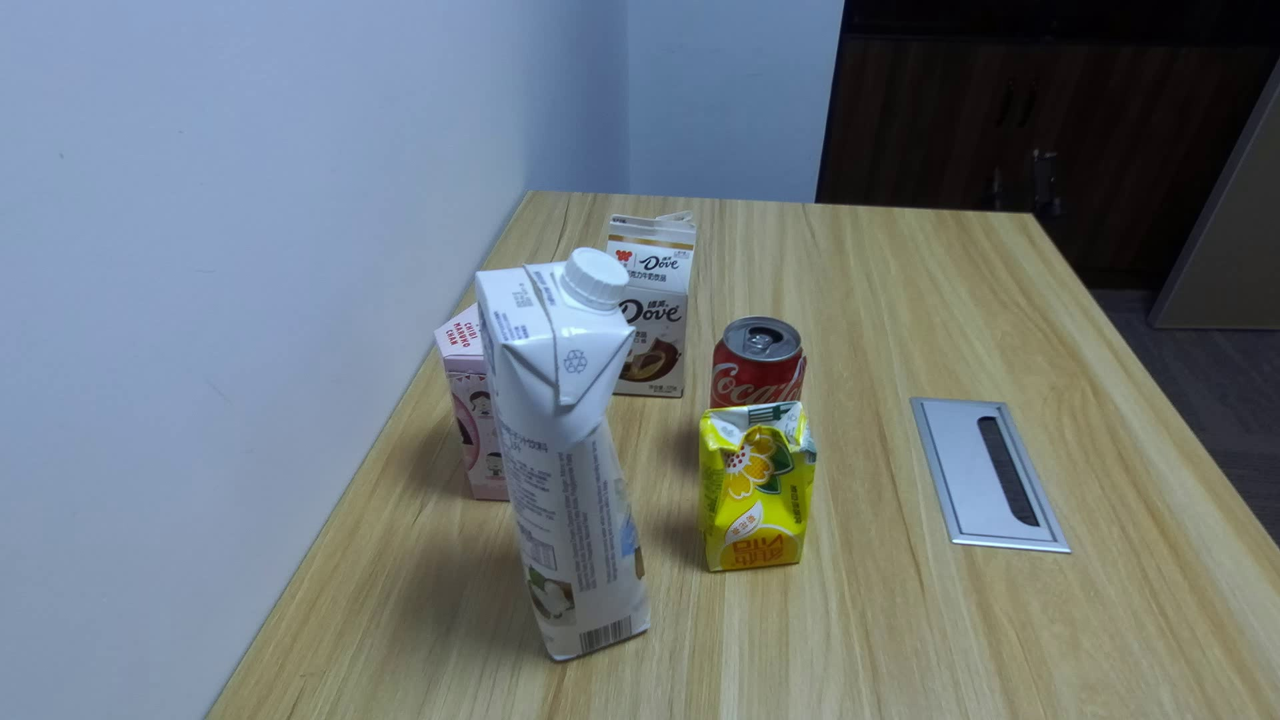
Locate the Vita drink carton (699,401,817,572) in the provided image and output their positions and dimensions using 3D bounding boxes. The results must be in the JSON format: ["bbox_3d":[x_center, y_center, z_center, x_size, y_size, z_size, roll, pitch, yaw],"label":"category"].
[{"bbox_3d":[0.076,0.085,0.461,0.071,0.110,0.046,-5,35,-4],"label":"Vita drink carton"}]

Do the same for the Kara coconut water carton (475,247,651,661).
[{"bbox_3d":[-0.037,0.056,0.388,0.071,0.244,0.099,-12,39,-15],"label":"Kara coconut water carton"}]

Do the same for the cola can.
[{"bbox_3d":[0.086,0.029,0.527,0.068,0.120,0.067,1,36,0],"label":"cola can"}]

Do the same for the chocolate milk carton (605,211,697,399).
[{"bbox_3d":[0.003,-0.051,0.602,0.084,0.155,0.073,2,37,4],"label":"chocolate milk carton"}]
